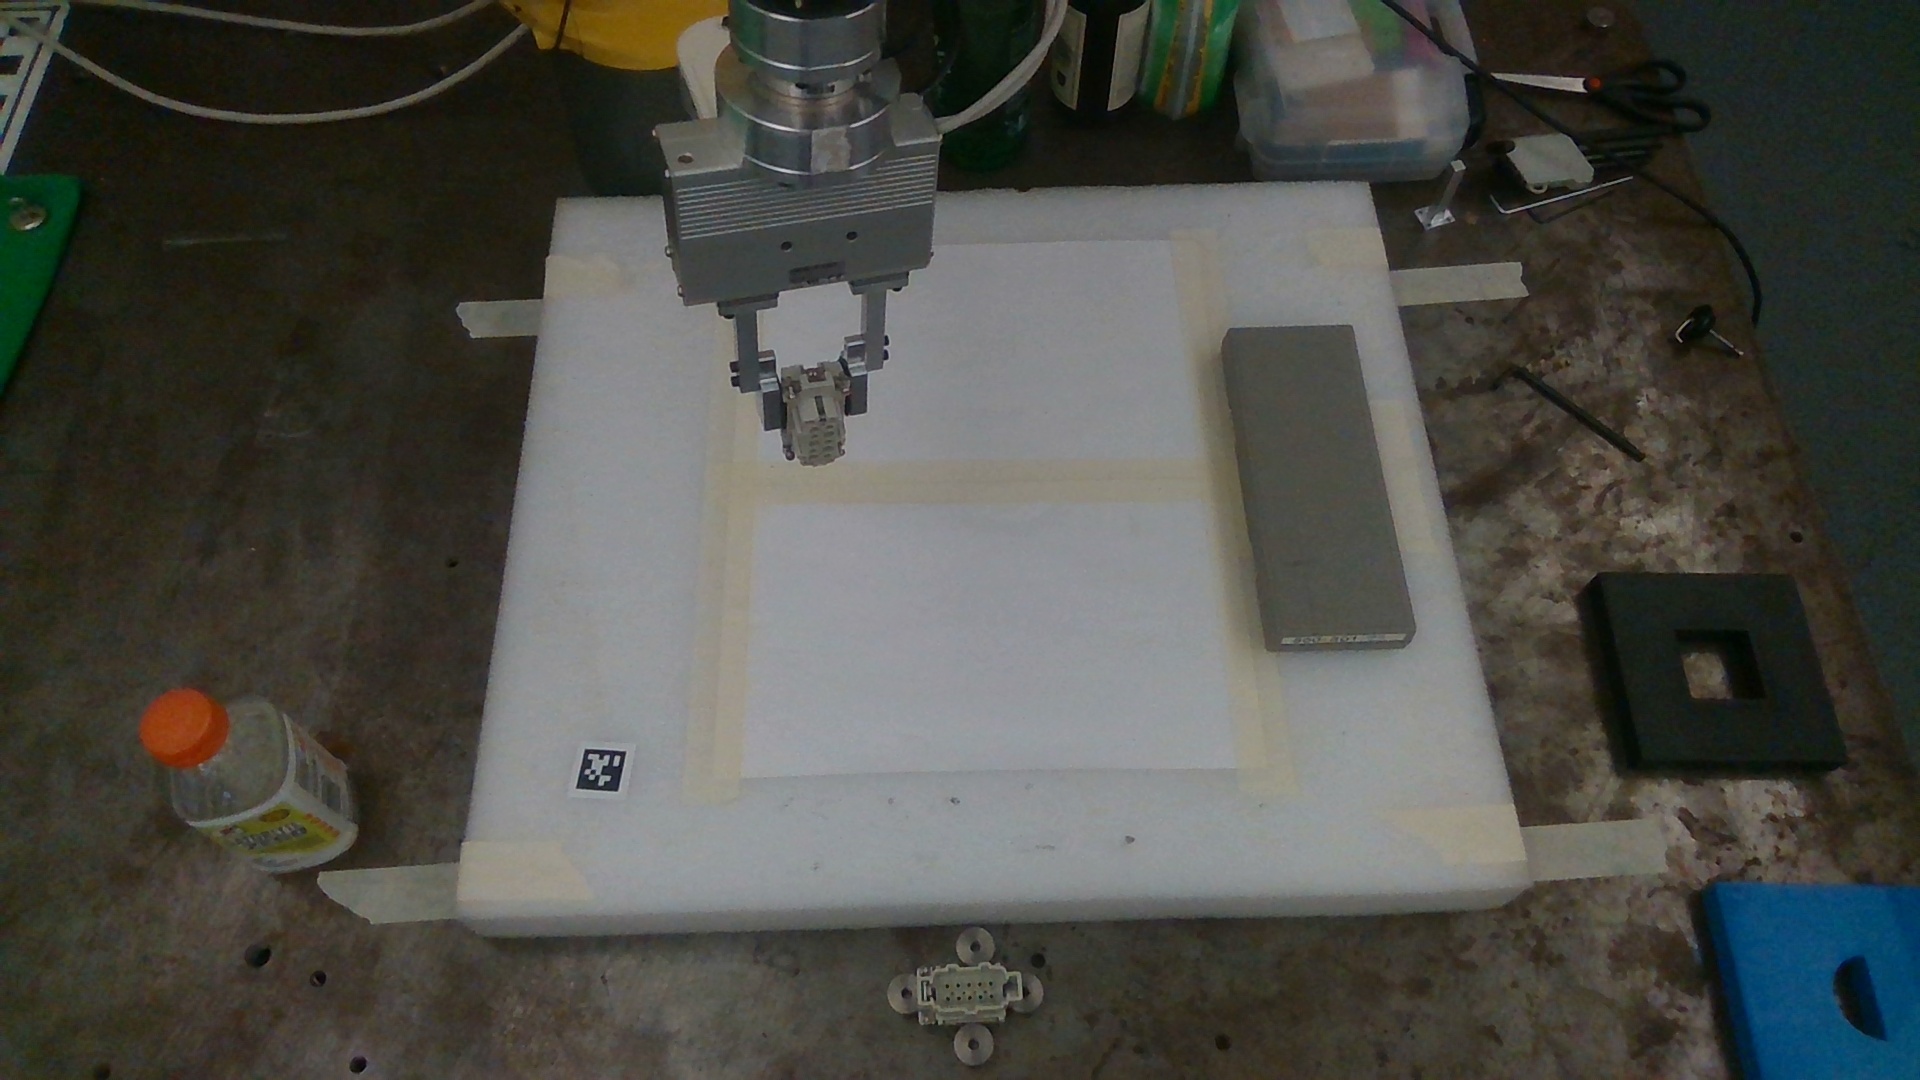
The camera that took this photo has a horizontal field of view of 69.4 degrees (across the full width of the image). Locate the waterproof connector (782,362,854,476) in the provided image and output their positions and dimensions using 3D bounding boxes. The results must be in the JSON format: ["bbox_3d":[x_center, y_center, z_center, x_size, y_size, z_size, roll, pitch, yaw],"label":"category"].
[{"bbox_3d":[-0.075,-0.064,0.737,0.036,0.069,0.038,-7,55,-10],"label":"waterproof connector"}]
